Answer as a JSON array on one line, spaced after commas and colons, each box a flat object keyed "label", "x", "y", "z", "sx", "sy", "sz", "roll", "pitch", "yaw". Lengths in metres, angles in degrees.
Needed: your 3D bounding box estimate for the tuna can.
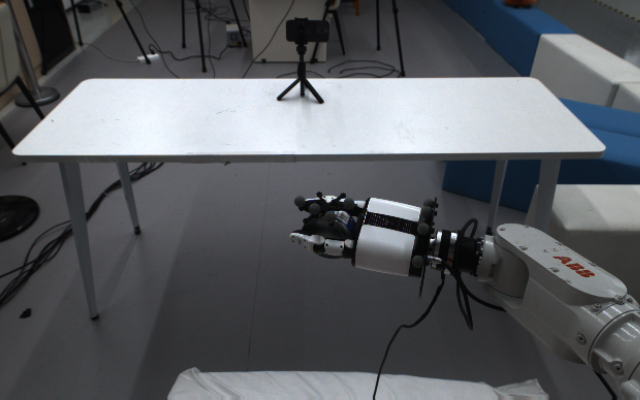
[{"label": "tuna can", "x": 0.017, "y": 0.051, "z": 0.772, "sx": 0.085, "sy": 0.085, "sz": 0.034, "roll": 11, "pitch": 39, "yaw": 13}]
